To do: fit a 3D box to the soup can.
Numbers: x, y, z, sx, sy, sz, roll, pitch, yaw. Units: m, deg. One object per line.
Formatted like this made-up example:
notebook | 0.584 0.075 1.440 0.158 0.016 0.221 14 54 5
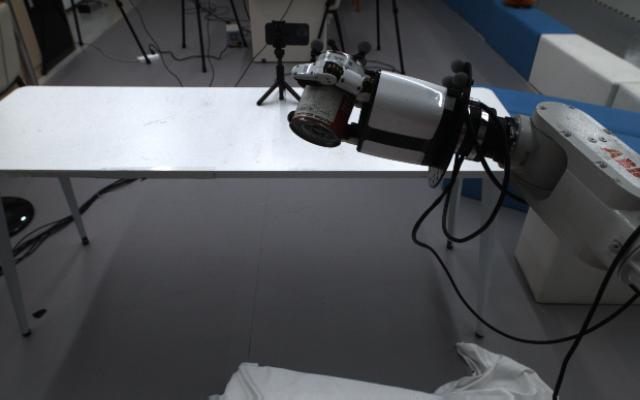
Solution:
soup can | 0.011 -0.127 0.613 0.067 0.067 0.101 15 75 18
